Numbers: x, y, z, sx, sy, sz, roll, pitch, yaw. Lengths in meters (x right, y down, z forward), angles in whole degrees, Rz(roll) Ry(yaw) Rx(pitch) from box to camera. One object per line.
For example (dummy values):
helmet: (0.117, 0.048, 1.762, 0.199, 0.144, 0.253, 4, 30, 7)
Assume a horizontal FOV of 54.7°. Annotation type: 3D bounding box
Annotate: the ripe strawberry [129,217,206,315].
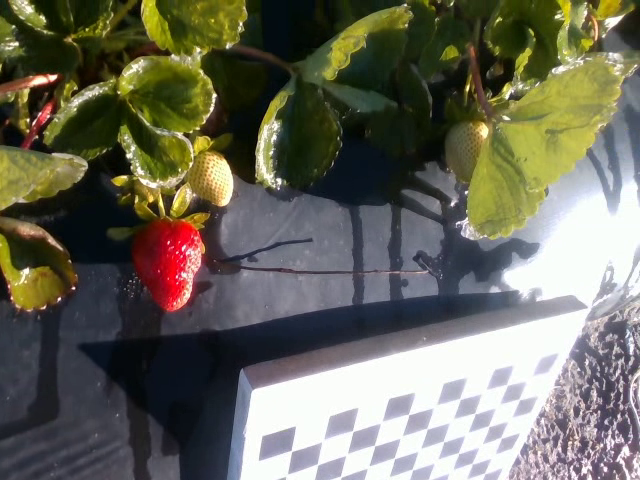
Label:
ripe strawberry: (-0.060, 0.014, 0.252, 0.039, 0.039, 0.040, -9, -27, -13)
